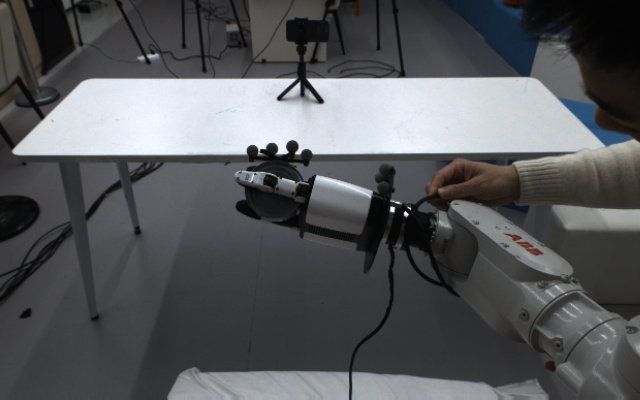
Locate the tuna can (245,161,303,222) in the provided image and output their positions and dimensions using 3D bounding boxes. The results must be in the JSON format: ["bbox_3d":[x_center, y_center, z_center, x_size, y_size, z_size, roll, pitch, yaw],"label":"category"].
[{"bbox_3d":[-0.063,-0.013,0.696,0.085,0.034,0.085,0,74,0],"label":"tuna can"}]
